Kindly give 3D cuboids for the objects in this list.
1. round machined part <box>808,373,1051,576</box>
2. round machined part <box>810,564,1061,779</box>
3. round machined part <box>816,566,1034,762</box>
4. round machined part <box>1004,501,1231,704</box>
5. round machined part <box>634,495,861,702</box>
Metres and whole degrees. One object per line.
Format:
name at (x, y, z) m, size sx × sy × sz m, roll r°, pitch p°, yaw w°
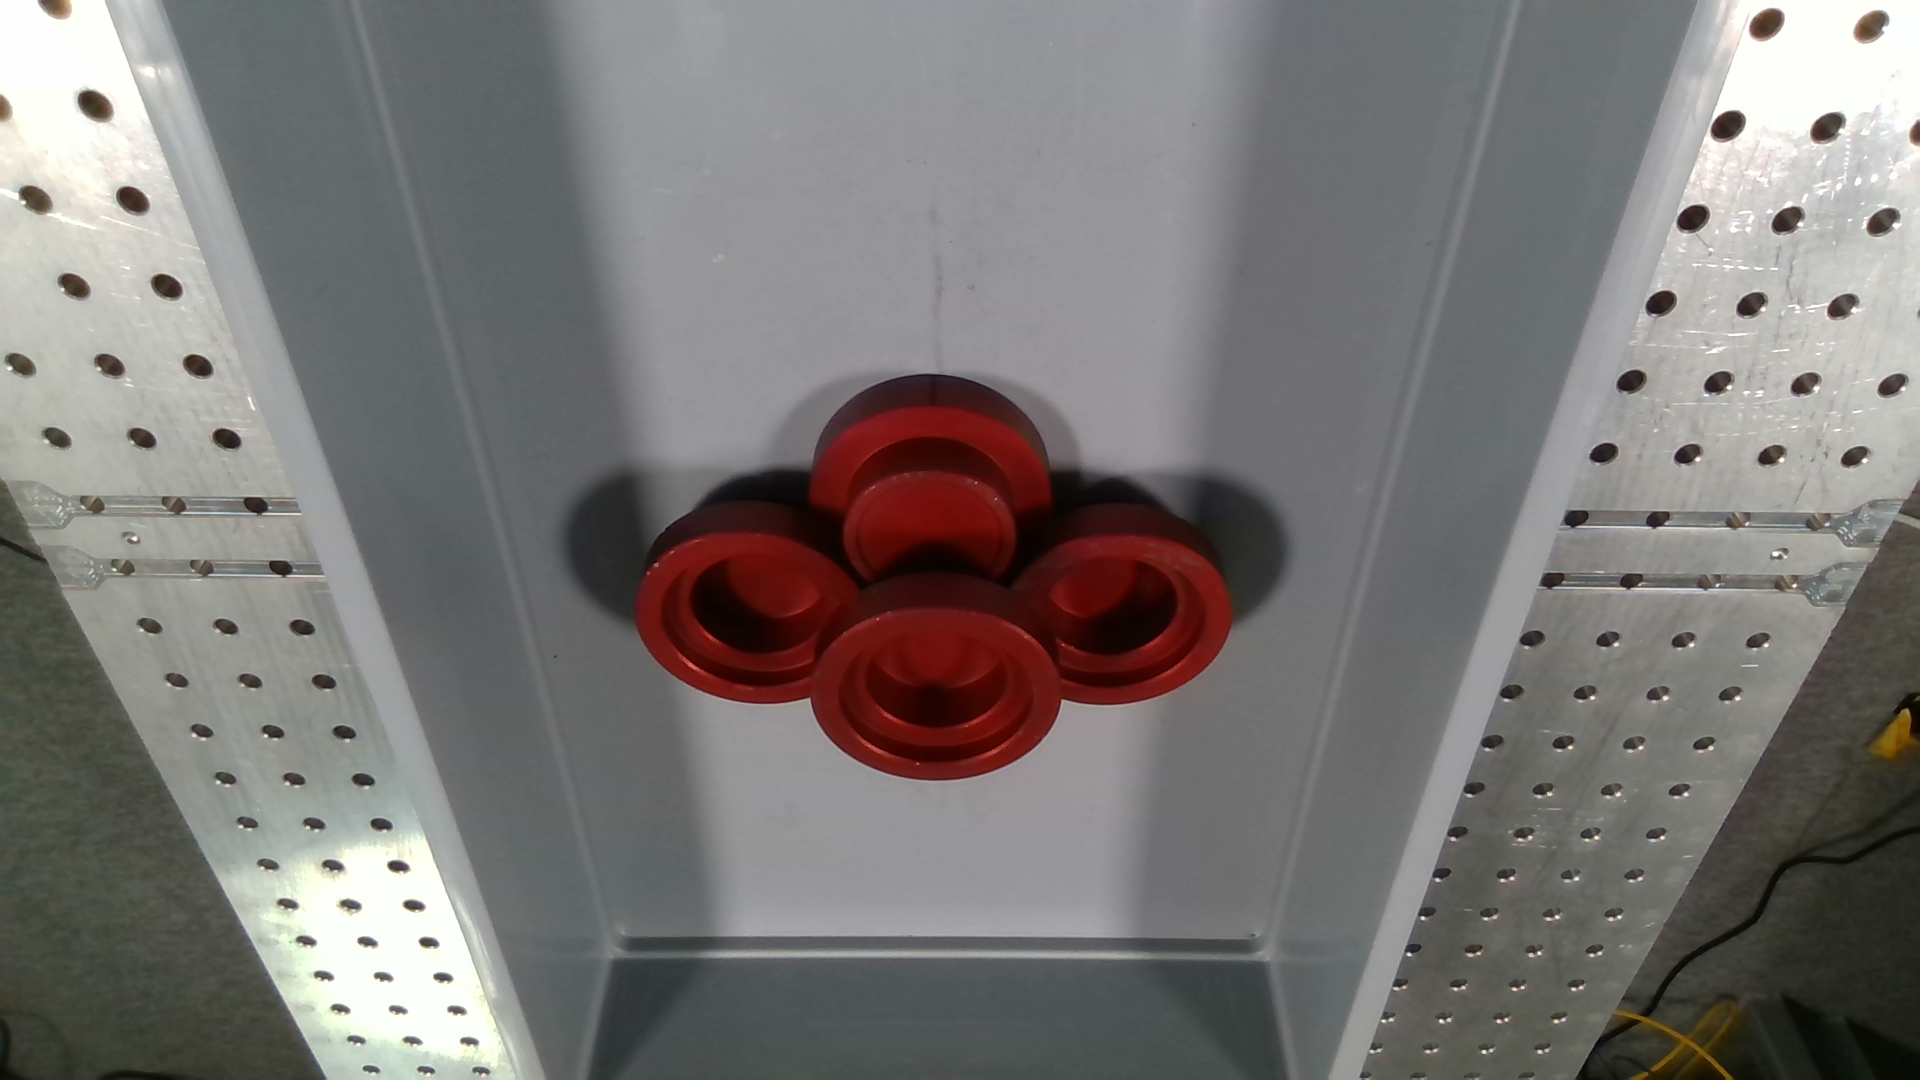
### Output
round machined part at (-0.012, -0.015, 0.554) m, size 0.098 × 0.042 × 0.098 m, roll 0°, pitch 130°, yaw 0°
round machined part at (-0.010, 0.048, 0.552) m, size 0.098 × 0.042 × 0.098 m, roll 0°, pitch 130°, yaw 0°
round machined part at (-0.016, 0.062, 0.617) m, size 0.098 × 0.042 × 0.098 m, roll 0°, pitch 130°, yaw 0°
round machined part at (0.063, 0.021, 0.584) m, size 0.098 × 0.042 × 0.098 m, roll 0°, pitch 130°, yaw 0°
round machined part at (-0.085, 0.020, 0.583) m, size 0.098 × 0.042 × 0.098 m, roll 0°, pitch 130°, yaw 0°
